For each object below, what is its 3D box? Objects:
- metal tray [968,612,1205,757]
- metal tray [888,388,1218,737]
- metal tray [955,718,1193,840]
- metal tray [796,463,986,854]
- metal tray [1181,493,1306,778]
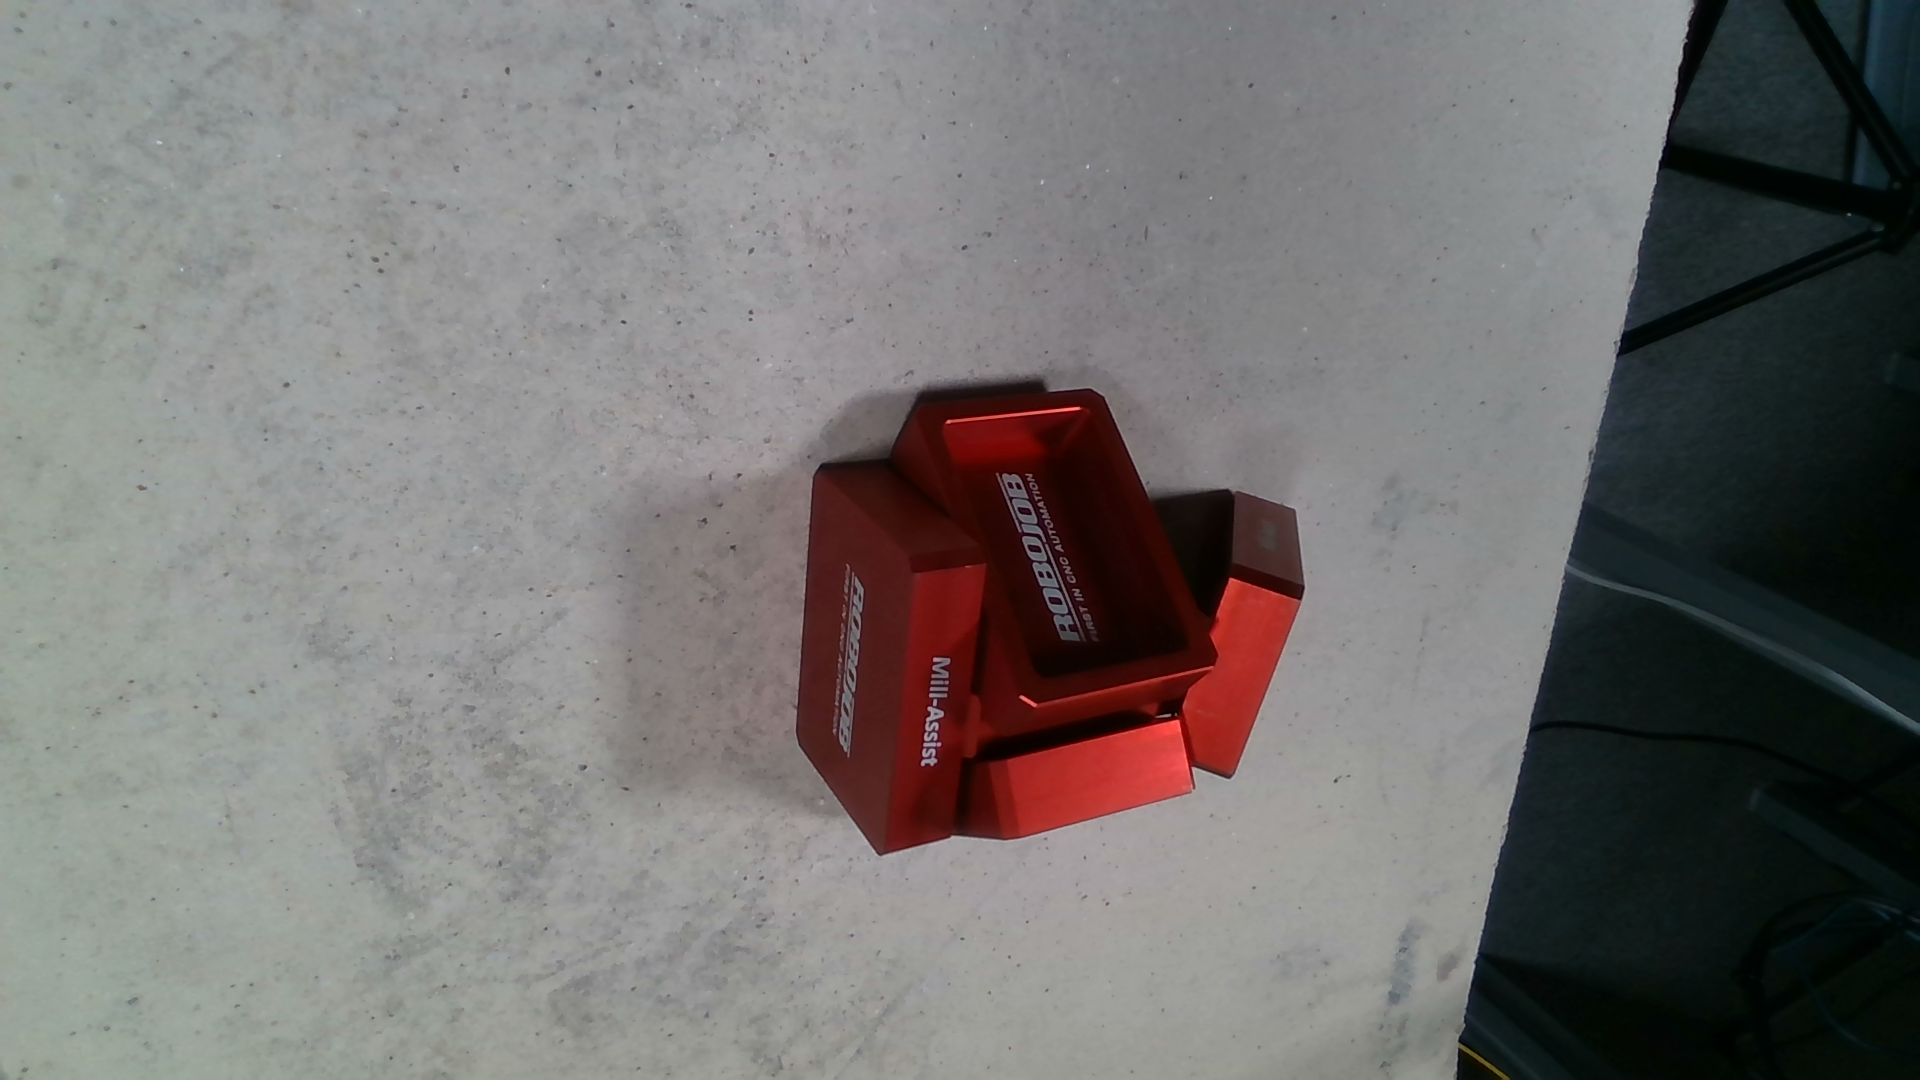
[{"bbox_3d":[0.039,0.045,0.587,0.130,0.090,0.030,-7,118,-28],"label":"metal tray"},{"bbox_3d":[0.035,0.005,0.542,0.090,0.130,0.030,-9,155,-28],"label":"metal tray"},{"bbox_3d":[0.026,0.101,0.587,0.090,0.130,0.030,-8,85,-28],"label":"metal tray"},{"bbox_3d":[-0.031,0.046,0.544,0.030,0.090,0.130,-8,118,-28],"label":"metal tray"},{"bbox_3d":[0.123,0.037,0.617,0.030,0.130,0.090,18,109,6],"label":"metal tray"}]
